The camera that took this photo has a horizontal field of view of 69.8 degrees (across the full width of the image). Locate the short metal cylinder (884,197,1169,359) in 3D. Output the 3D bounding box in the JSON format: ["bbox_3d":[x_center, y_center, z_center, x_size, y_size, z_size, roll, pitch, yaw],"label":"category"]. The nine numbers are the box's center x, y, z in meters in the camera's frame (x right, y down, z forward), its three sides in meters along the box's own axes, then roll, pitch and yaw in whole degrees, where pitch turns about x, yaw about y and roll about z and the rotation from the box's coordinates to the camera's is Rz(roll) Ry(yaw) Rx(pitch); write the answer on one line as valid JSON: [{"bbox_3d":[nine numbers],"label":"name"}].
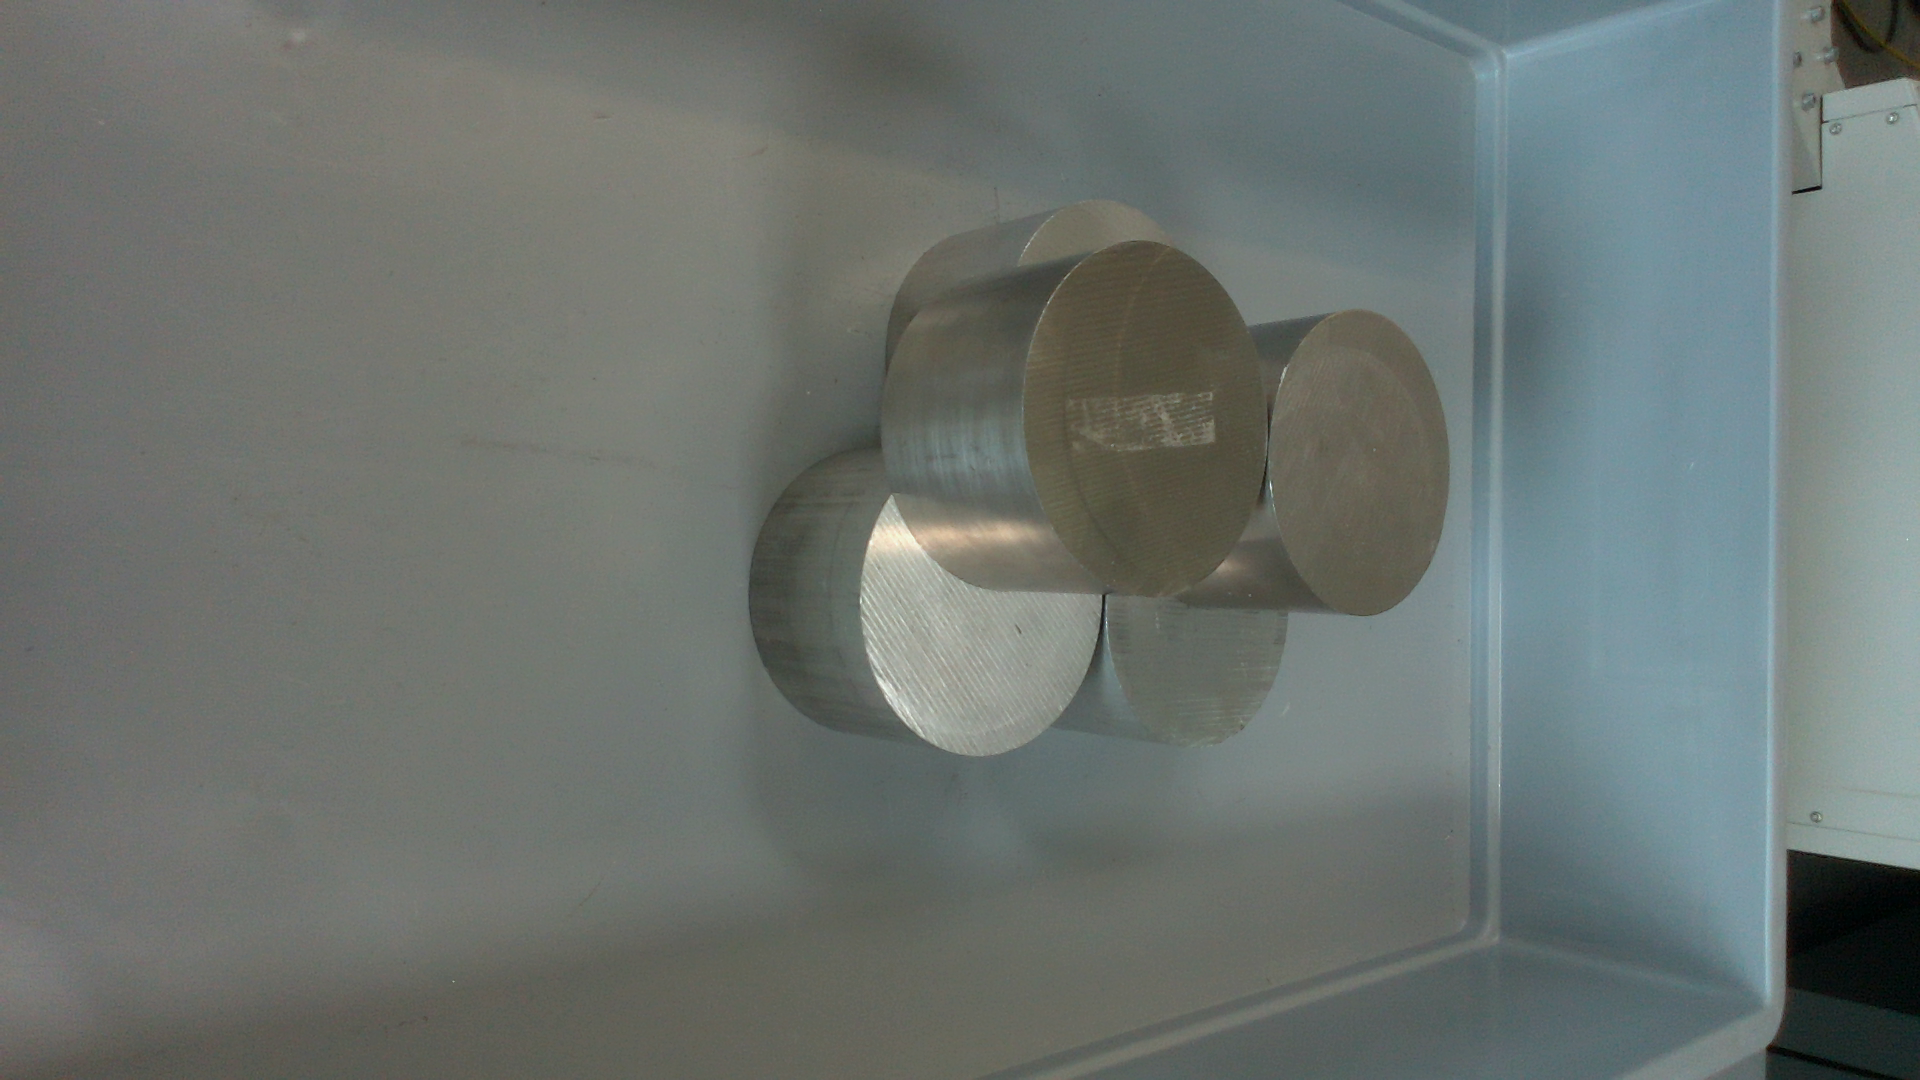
[{"bbox_3d":[0.025,-0.053,0.392,0.080,0.050,0.080,0,90,-40],"label":"short metal cylinder"}]

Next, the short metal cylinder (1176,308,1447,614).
[{"bbox_3d":[0.090,-0.021,0.380,0.080,0.050,0.080,0,90,-40],"label":"short metal cylinder"}]

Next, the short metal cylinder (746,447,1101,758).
[{"bbox_3d":[-0.009,0.014,0.363,0.080,0.050,0.080,0,90,-40],"label":"short metal cylinder"}]

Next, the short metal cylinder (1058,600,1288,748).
[{"bbox_3d":[0.054,0.020,0.416,0.080,0.050,0.080,0,90,-40],"label":"short metal cylinder"}]

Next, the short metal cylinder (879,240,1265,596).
[{"bbox_3d":[0.028,-0.027,0.329,0.080,0.050,0.080,0,90,-40],"label":"short metal cylinder"}]
